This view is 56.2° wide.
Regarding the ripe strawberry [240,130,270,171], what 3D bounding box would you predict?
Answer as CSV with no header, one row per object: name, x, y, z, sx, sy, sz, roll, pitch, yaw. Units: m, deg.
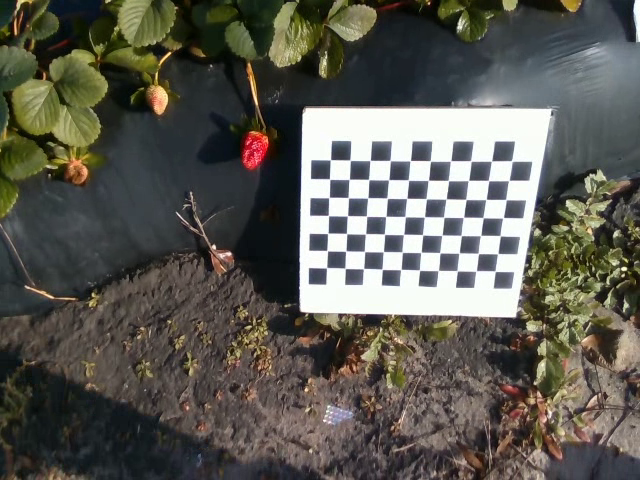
ripe strawberry,-0.031,-0.040,0.254,0.015,0.023,0.015,8,-30,-1
